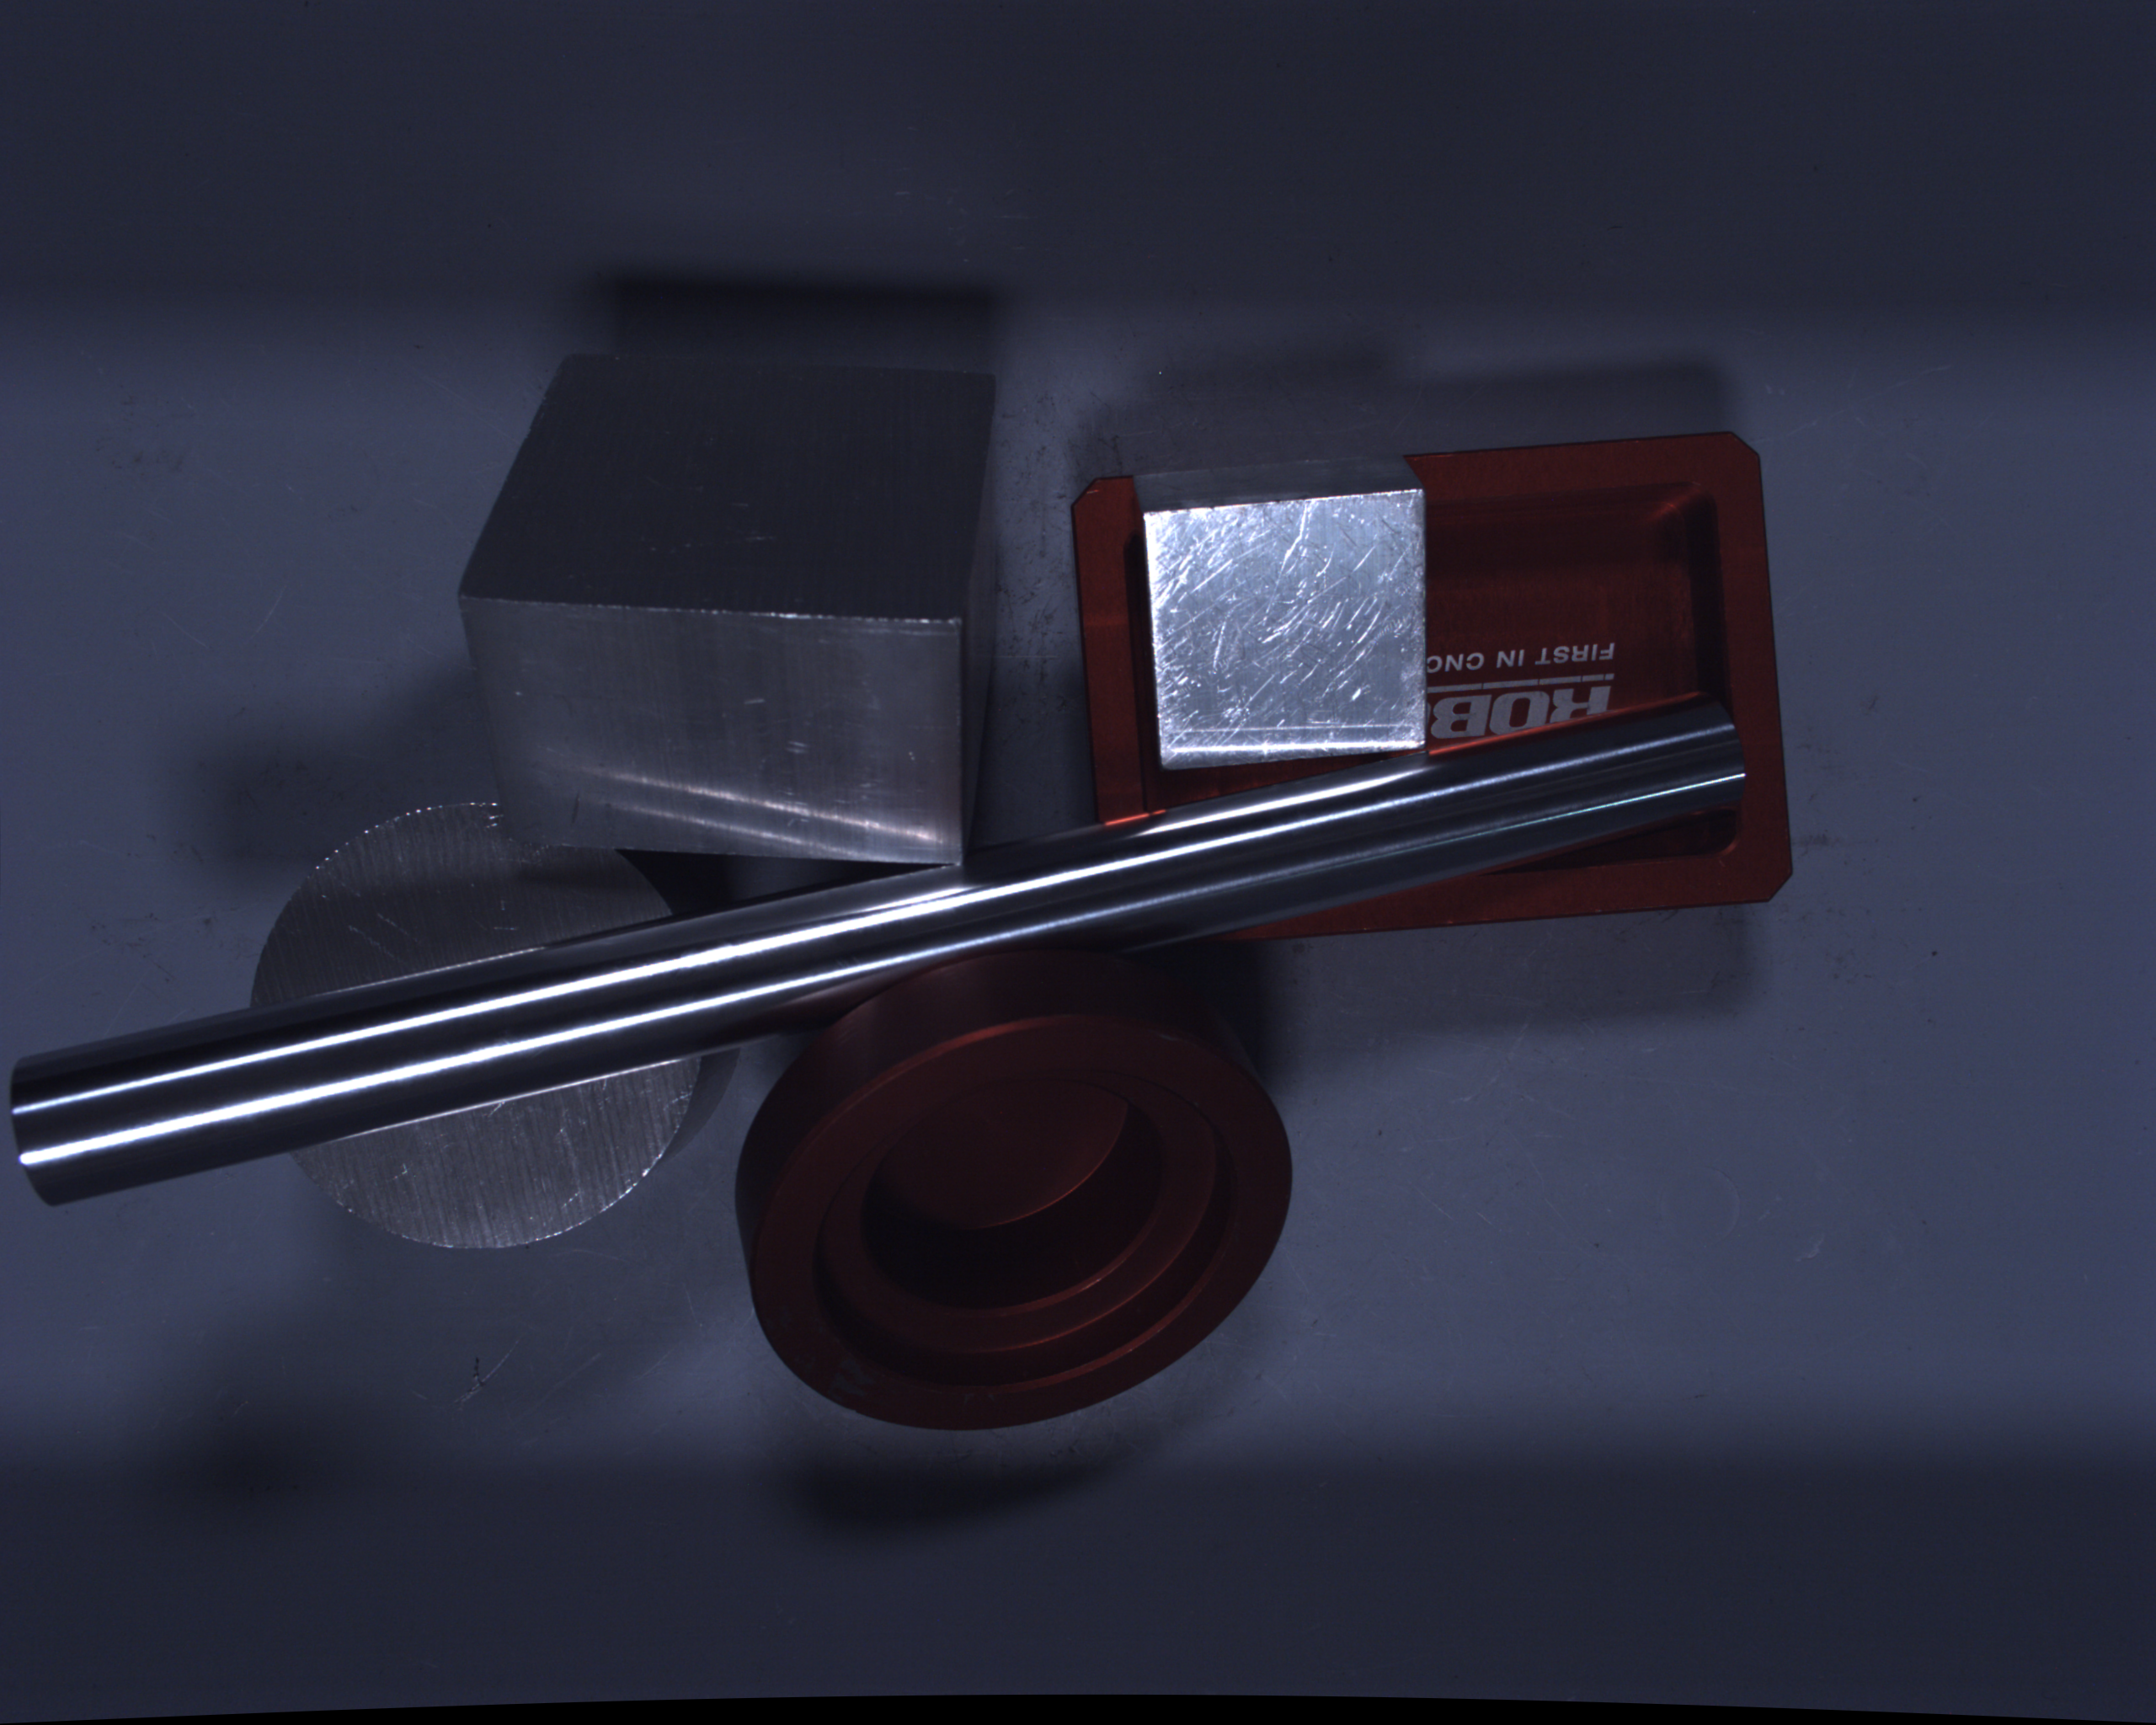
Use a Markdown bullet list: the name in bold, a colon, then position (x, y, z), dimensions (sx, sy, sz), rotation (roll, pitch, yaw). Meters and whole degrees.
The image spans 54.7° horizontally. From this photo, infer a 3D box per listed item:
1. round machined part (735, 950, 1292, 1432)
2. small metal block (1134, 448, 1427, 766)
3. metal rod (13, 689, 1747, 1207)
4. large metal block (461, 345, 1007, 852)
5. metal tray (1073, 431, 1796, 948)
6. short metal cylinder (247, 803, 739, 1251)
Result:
- **round machined part**: position (-0.014, 0.056, 0.385), dimensions (0.099, 0.042, 0.097), rotation (-8, 124, -12)
- **small metal block**: position (0.038, -0.048, 0.389), dimensions (0.050, 0.025, 0.050), rotation (-5, 116, 0)
- **metal rod**: position (-0.024, 0.011, 0.368), dimensions (0.302, 0.025, 0.025), rotation (-13, 90, -11)
- **large metal block**: position (-0.056, -0.049, 0.374), dimensions (0.081, 0.080, 0.050), rotation (3, 132, 0)
- **metal tray**: position (0.067, -0.032, 0.408), dimensions (0.131, 0.030, 0.089), rotation (-5, 90, -1)
- **short metal cylinder**: position (-0.107, 0.029, 0.395), dimensions (0.081, 0.050, 0.079), rotation (0, 90, -1)
